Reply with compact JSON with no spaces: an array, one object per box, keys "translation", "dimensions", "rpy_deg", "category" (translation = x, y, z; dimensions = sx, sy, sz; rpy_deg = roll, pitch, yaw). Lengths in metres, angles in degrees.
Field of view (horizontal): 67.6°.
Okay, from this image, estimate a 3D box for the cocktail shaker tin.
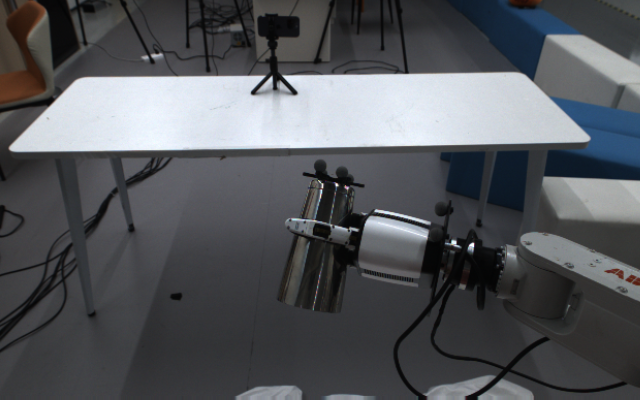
[{"translation":[0.002,0.063,0.676],"dimensions":[0.093,0.170,0.093],"rpy_deg":[11,-5,1],"category":"cocktail shaker tin"}]
